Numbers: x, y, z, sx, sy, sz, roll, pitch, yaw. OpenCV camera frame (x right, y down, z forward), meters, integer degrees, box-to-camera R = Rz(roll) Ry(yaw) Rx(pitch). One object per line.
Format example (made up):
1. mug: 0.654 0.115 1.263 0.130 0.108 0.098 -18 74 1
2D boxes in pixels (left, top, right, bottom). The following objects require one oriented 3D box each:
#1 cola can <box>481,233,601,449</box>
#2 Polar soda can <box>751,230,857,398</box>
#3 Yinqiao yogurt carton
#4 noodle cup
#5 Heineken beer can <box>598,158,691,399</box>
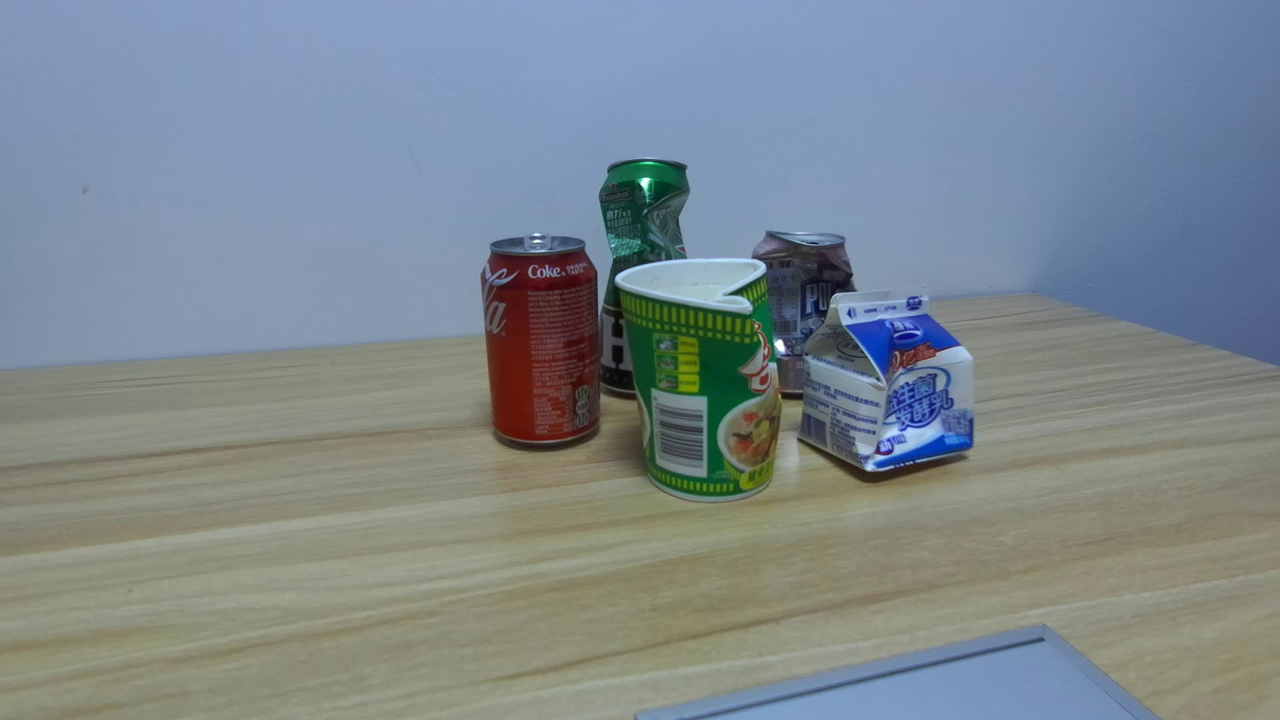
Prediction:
1. cola can: -0.058 -0.012 0.419 0.068 0.120 0.068 -1 19 1
2. Polar soda can: 0.110 -0.032 0.487 0.070 0.114 0.074 22 29 38
3. Yinqiao yogurt carton: 0.136 0.007 0.399 0.078 0.094 0.071 -8 13 -24
4. noodle cup: 0.035 0.009 0.368 0.086 0.109 0.094 13 23 32
5. Heineken beer can: 0.006 -0.055 0.486 0.067 0.159 0.078 -4 9 -15
